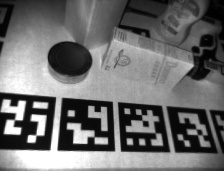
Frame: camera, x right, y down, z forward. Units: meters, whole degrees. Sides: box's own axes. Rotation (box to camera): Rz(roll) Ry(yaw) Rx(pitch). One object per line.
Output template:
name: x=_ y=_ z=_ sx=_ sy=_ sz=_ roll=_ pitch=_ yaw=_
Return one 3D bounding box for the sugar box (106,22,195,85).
sugar box: x=0.082 y=-0.063 z=0.473 sx=0.177 sy=0.092 sz=0.045 roll=18 pitch=56 yaw=-9

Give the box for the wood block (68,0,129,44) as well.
wood block: x=-0.026 y=-0.187 z=0.448 sx=0.092 sy=0.206 sz=0.089 roll=-21 pitch=71 yaw=-24

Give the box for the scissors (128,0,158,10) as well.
scissors: x=0.032 y=-0.228 z=0.585 sx=0.204 sy=0.016 sz=0.087 roll=9 pitch=57 yaw=-13

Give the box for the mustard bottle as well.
mustard bottle: x=0.185 y=-0.193 z=0.523 sx=0.059 sy=0.191 sz=0.096 roll=-34 pitch=77 yaw=-27

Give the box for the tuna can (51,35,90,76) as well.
tuna can: x=-0.084 y=-0.063 z=0.450 sx=0.086 sy=0.033 sz=0.085 roll=8 pitch=62 yaw=-14

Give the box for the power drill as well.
power drill: x=0.217 y=-0.116 z=0.561 sx=0.185 sy=0.057 sz=0.187 roll=19 pitch=66 yaw=-7
